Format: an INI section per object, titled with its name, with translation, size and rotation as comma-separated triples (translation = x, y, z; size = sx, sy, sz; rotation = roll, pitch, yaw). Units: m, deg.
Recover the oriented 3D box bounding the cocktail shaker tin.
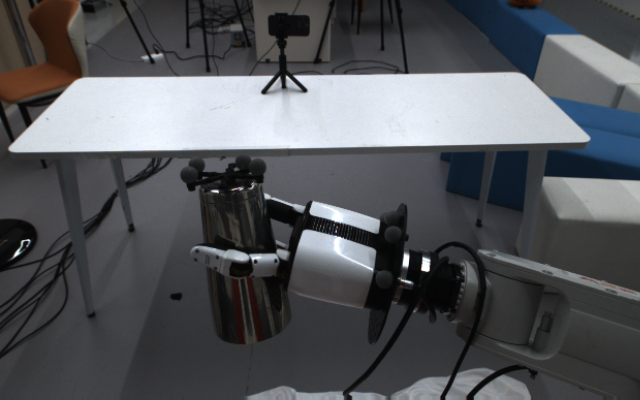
[cocktail shaker tin]
translation = -0.086, 0.063, 0.539
size = 0.093, 0.170, 0.093
rotation = -6, 19, 2
